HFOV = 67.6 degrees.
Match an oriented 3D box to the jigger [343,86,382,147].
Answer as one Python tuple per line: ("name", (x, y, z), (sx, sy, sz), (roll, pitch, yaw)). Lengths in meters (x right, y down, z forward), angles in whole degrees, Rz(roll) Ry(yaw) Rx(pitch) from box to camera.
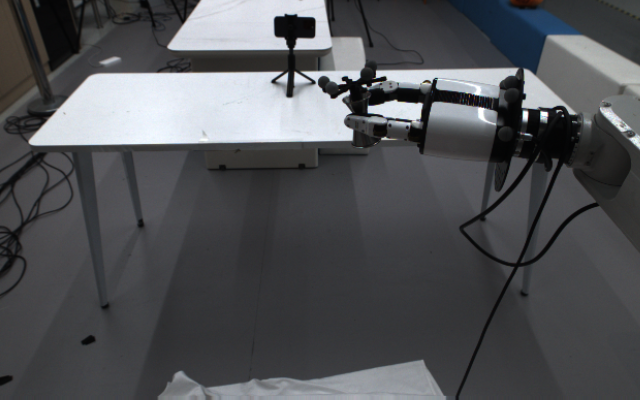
("jigger", (0.059, -0.112, 0.672), (0.043, 0.071, 0.043), (-12, 29, 7))
